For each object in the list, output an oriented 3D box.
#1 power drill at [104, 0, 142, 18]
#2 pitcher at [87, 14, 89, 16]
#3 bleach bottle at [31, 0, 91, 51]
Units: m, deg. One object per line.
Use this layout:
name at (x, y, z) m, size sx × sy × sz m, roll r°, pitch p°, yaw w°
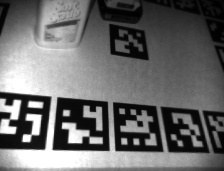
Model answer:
power drill at (0.071, -0.237, 0.487) m, size 0.186 × 0.186 × 0.057 m, roll 1°, pitch 66°, yaw -24°
pitcher at (-0.086, -0.235, 0.421) m, size 0.190 × 0.242 × 0.132 m, roll -23°, pitch 74°, yaw -26°
bleach bottle at (-0.085, -0.154, 0.355) m, size 0.103 × 0.250 × 0.067 m, roll -4°, pitch 65°, yaw -19°
